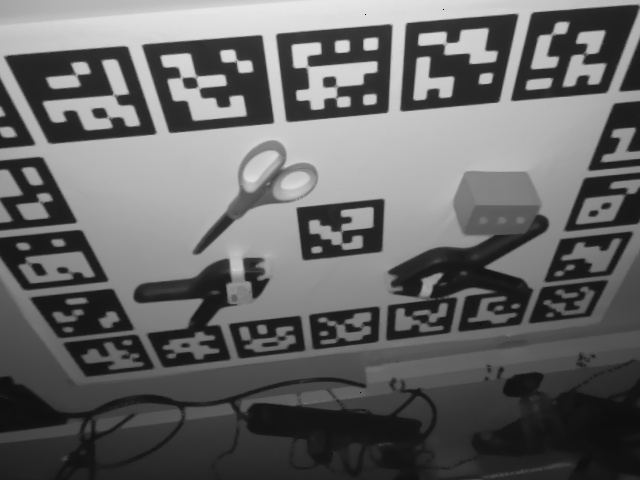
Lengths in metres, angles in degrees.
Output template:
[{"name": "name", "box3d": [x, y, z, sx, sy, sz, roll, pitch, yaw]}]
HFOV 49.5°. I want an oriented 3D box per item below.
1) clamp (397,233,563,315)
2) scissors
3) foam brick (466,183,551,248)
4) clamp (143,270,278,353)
[{"name": "clamp", "box3d": [0.202, 0.059, 0.898, 0.203, 0.037, 0.164, -8, 142, 1]}, {"name": "scissors", "box3d": [-0.068, -0.022, 0.773, 0.088, 0.016, 0.199, 29, 129, -25]}, {"name": "foam brick", "box3d": [0.214, -0.028, 0.794, 0.079, 0.051, 0.052, -4, 137, -12]}, {"name": "clamp", "box3d": [-0.123, 0.082, 0.876, 0.163, 0.037, 0.122, -25, 129, 17]}]
